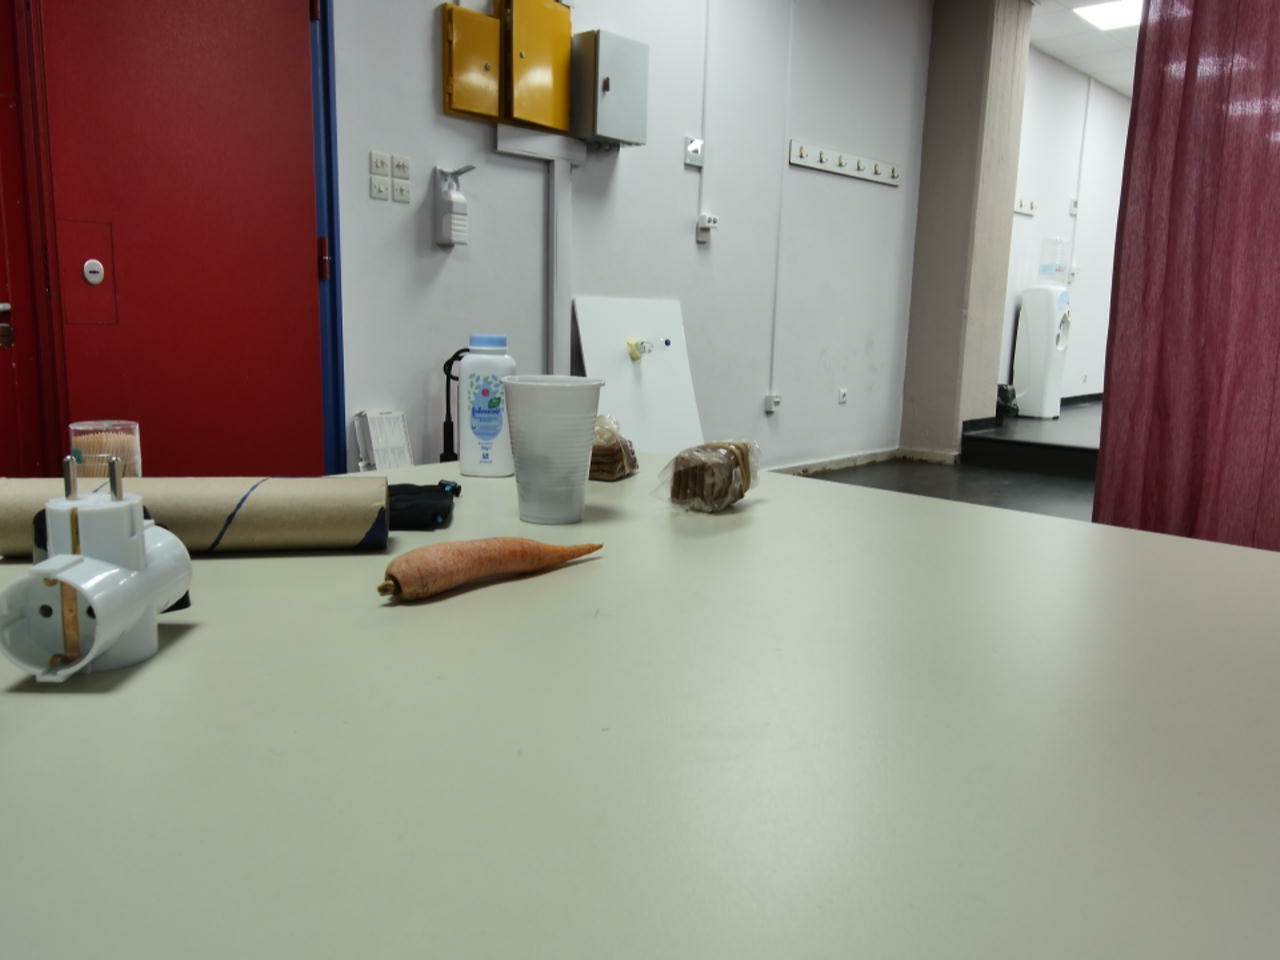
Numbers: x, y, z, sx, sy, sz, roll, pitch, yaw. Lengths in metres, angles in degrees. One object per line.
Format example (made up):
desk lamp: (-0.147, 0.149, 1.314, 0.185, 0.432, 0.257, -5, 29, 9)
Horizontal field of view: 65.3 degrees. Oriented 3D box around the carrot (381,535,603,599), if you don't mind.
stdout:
carrot: (-0.083, 0.046, 0.604, 0.031, 0.029, 0.163, 8, 11, 43)
